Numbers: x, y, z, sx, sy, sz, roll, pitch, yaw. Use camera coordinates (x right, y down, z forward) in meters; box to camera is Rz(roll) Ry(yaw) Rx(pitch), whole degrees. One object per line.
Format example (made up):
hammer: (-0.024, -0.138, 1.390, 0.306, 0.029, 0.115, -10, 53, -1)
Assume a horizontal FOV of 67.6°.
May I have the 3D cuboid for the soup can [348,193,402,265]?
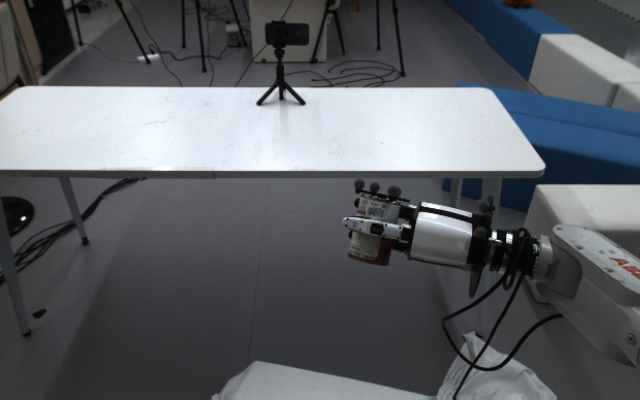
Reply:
soup can: (0.088, 0.047, 0.771, 0.067, 0.101, 0.067, 12, 2, 0)
